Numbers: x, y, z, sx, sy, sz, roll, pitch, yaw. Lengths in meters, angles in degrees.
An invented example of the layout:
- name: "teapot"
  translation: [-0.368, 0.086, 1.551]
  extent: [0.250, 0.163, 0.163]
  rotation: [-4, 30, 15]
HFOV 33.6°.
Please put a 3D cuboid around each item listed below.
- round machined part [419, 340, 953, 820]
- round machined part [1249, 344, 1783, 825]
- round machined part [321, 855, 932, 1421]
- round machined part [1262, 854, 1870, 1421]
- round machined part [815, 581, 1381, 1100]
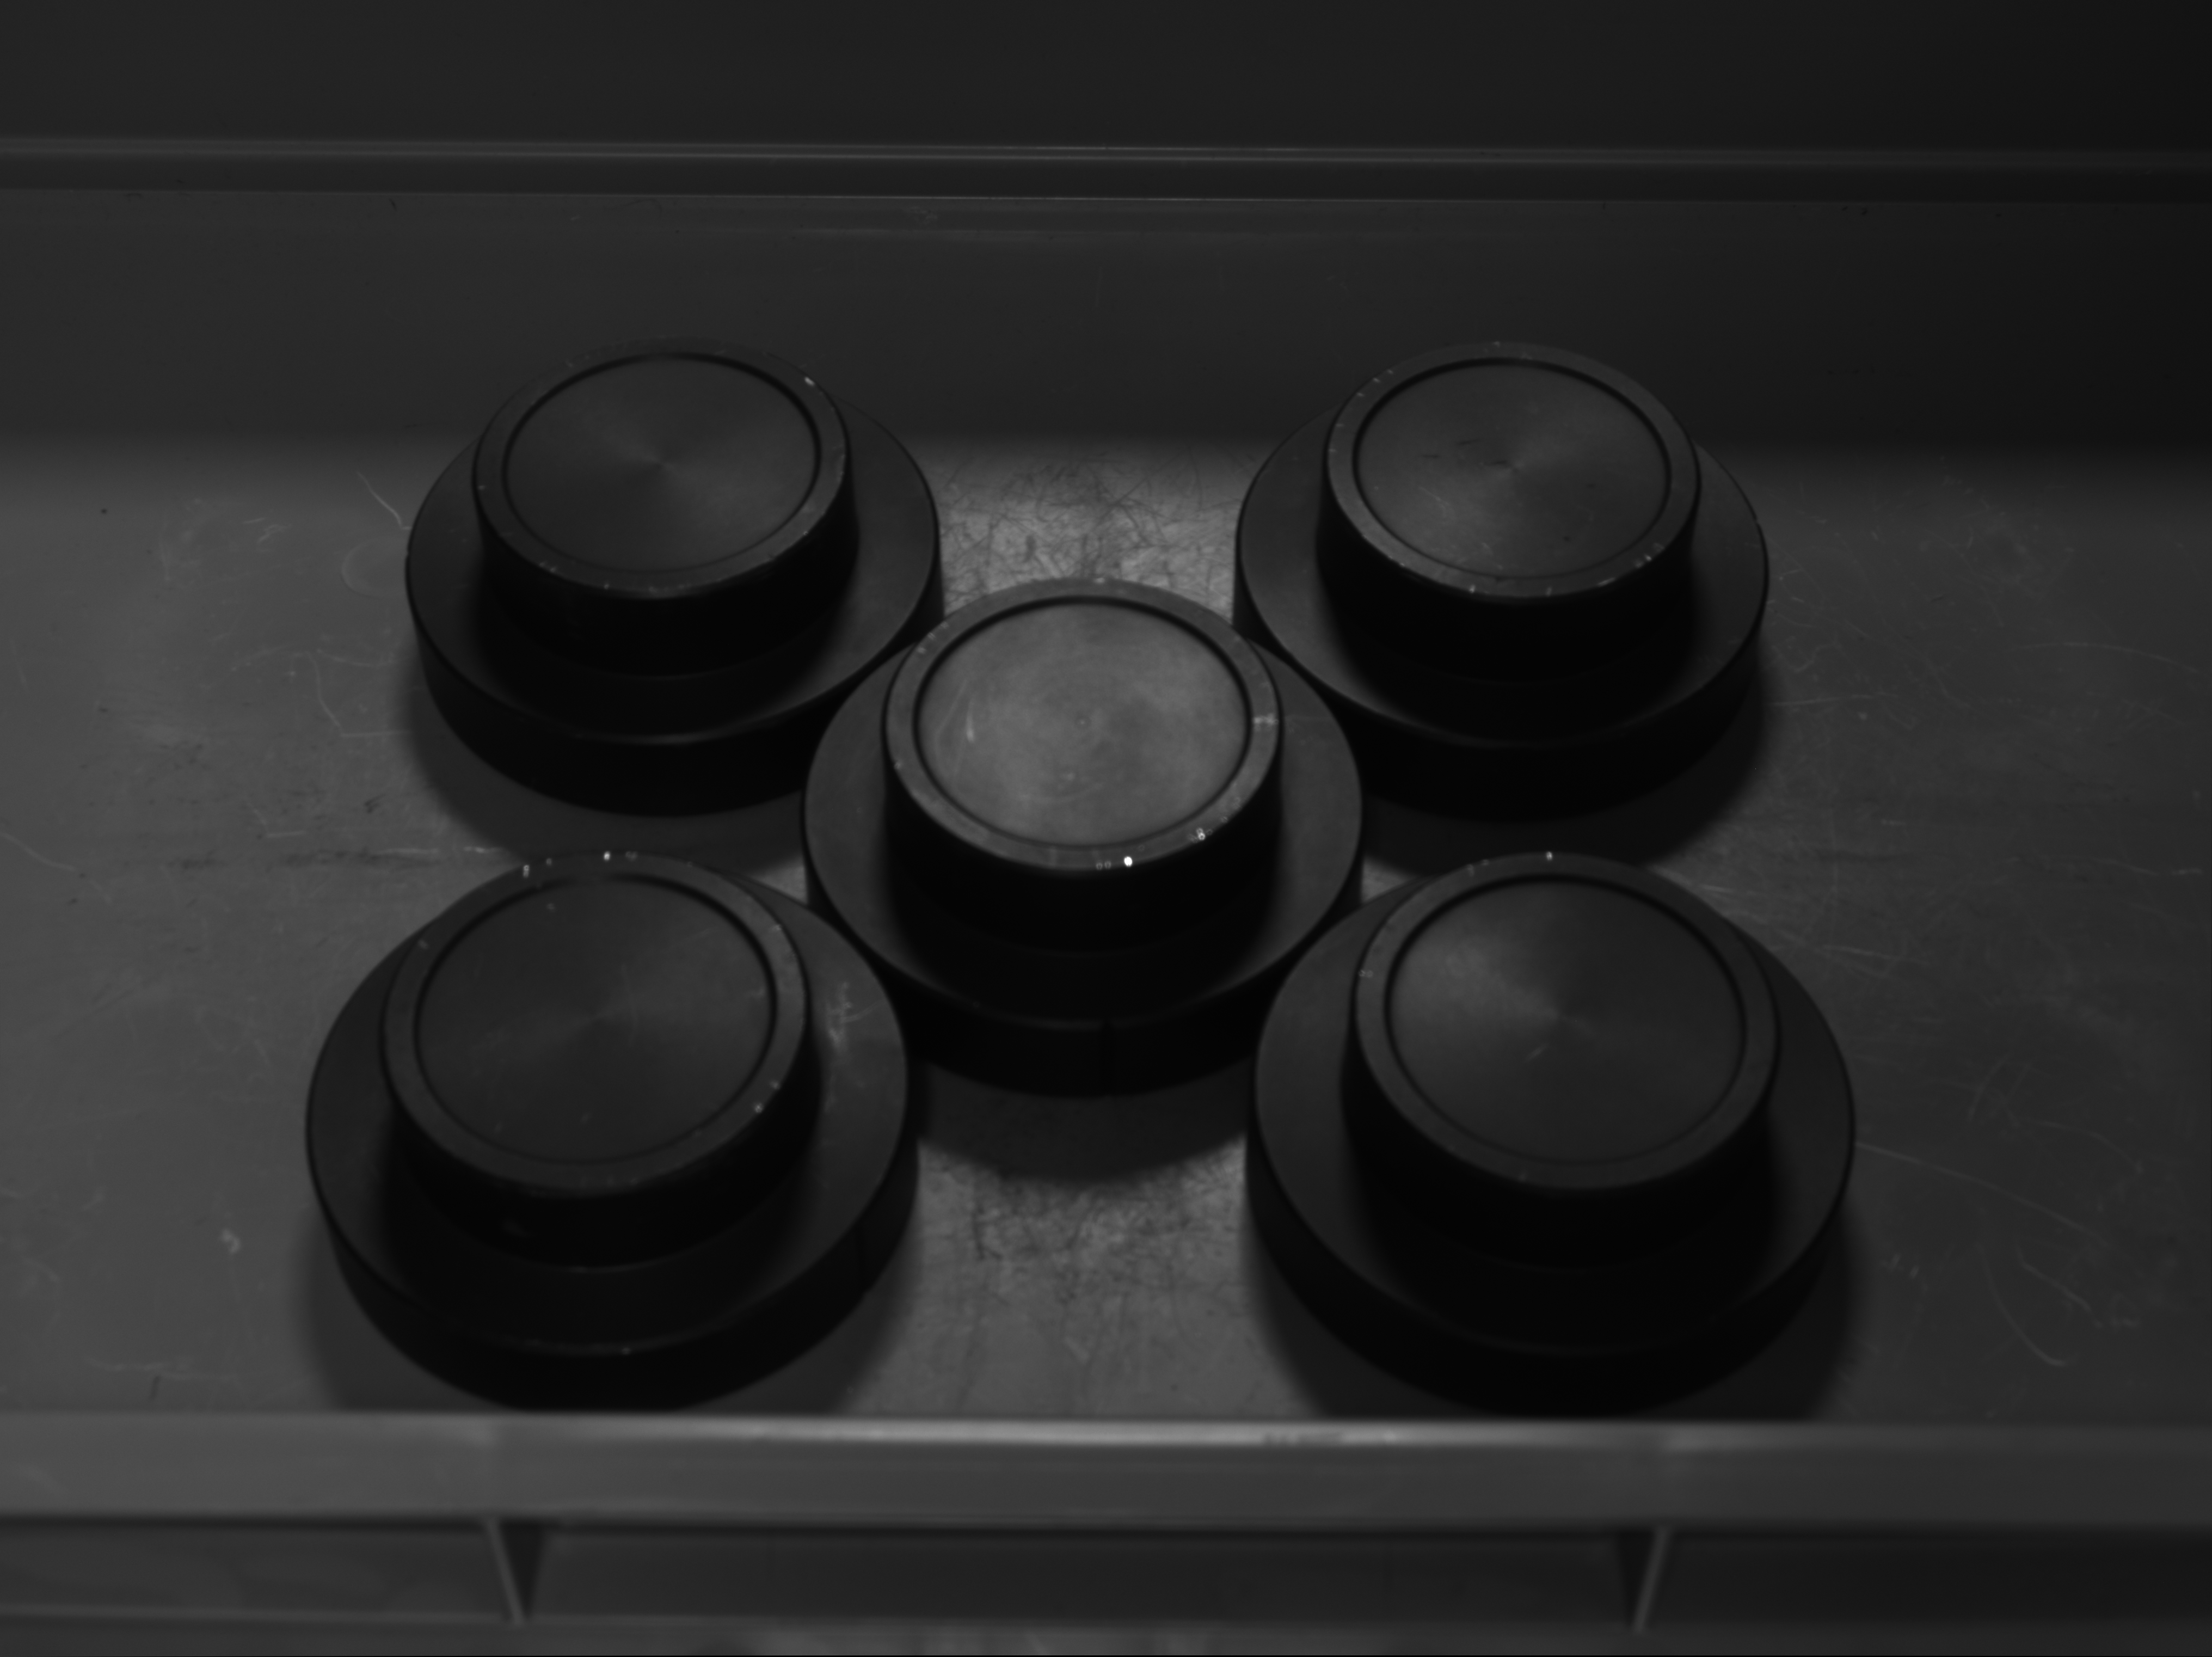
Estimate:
- name: "round machined part"
  translation: [-0.077, -0.052, 0.674]
  extent: [0.098, 0.042, 0.098]
  rotation: [0, 50, 0]
- name: "round machined part"
  translation: [0.075, -0.051, 0.673]
  extent: [0.098, 0.042, 0.098]
  rotation: [0, 50, 0]
- name: "round machined part"
  translation: [-0.078, 0.043, 0.593]
  extent: [0.098, 0.042, 0.098]
  rotation: [0, 50, 0]
- name: "round machined part"
  translation: [0.075, 0.043, 0.594]
  extent: [0.098, 0.042, 0.098]
  rotation: [0, 50, 0]
- name: "round machined part"
  translation: [-0.001, -0.004, 0.633]
  extent: [0.098, 0.042, 0.098]
  rotation: [0, 50, 0]
